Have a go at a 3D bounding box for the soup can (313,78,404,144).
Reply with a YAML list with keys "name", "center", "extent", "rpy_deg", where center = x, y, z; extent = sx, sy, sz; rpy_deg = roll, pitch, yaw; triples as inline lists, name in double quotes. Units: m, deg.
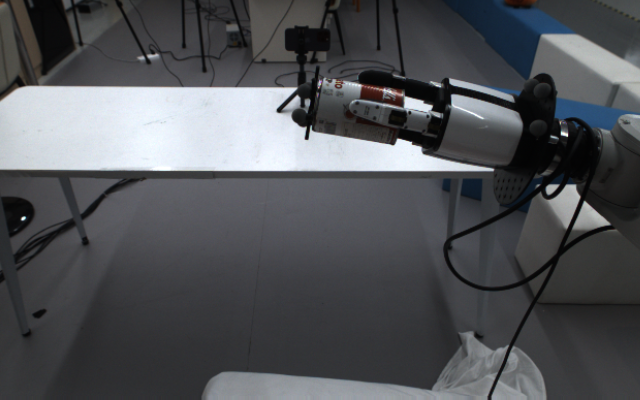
- name: "soup can"
  center: [0.047, -0.108, 0.587]
  extent: [0.101, 0.067, 0.067]
  rpy_deg: [9, 35, 0]
